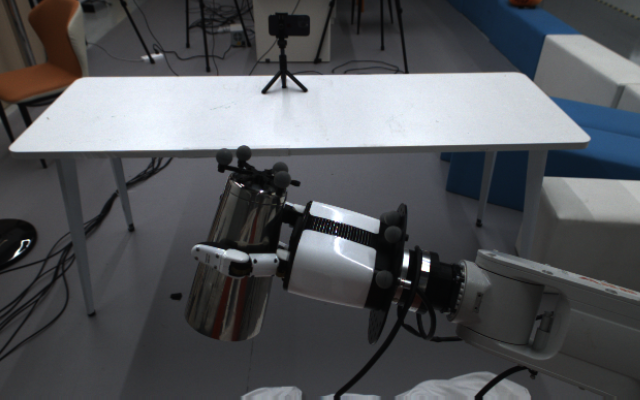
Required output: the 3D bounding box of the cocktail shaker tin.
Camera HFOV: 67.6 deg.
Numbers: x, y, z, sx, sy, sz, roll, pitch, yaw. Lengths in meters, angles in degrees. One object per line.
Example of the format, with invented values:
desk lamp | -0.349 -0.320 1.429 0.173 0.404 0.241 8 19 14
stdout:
cocktail shaker tin | -0.088 0.059 0.540 0.093 0.170 0.093 15 17 -5
